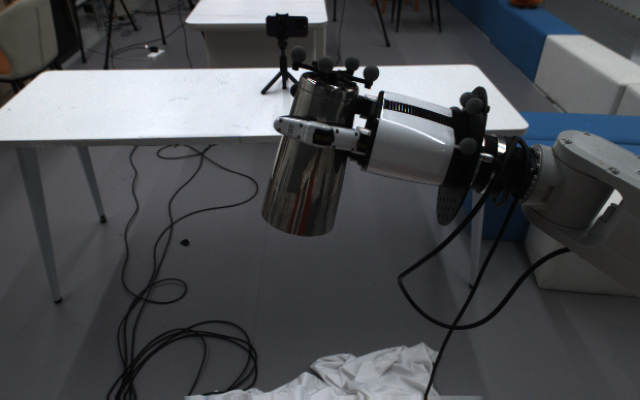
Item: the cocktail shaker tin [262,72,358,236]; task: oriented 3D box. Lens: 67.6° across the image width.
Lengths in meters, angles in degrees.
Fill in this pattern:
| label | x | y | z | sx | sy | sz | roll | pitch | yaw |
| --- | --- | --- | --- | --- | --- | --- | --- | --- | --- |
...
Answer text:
| label | x | y | z | sx | sy | sz | roll | pitch | yaw |
| --- | --- | --- | --- | --- | --- | --- | --- | --- | --- |
| cocktail shaker tin | -0.005 | -0.057 | 0.562 | 0.093 | 0.170 | 0.093 | 12 | 25 | -6 |
